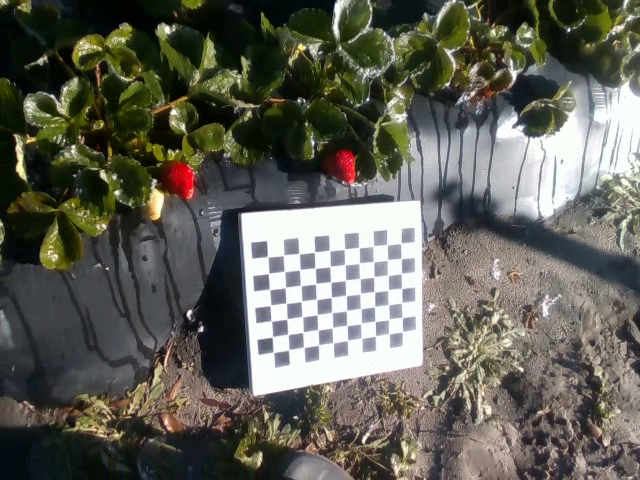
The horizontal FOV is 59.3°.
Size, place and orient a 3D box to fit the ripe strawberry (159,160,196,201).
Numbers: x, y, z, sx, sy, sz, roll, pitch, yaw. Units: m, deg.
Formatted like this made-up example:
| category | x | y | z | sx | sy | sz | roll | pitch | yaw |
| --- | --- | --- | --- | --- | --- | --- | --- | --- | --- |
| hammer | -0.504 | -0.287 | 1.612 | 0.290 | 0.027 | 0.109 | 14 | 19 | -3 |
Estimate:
| category | x | y | z | sx | sy | sz | roll | pitch | yaw |
| --- | --- | --- | --- | --- | --- | --- | --- | --- | --- |
| ripe strawberry | -0.182 | -0.073 | 0.729 | 0.043 | 0.061 | 0.046 | -20 | -28 | -17 |

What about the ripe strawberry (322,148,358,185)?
| category | x | y | z | sx | sy | sz | roll | pitch | yaw |
| --- | --- | --- | --- | --- | --- | --- | --- | --- | --- |
| ripe strawberry | 0.033 | -0.106 | 0.800 | 0.049 | 0.061 | 0.044 | -13 | -21 | -19 |
